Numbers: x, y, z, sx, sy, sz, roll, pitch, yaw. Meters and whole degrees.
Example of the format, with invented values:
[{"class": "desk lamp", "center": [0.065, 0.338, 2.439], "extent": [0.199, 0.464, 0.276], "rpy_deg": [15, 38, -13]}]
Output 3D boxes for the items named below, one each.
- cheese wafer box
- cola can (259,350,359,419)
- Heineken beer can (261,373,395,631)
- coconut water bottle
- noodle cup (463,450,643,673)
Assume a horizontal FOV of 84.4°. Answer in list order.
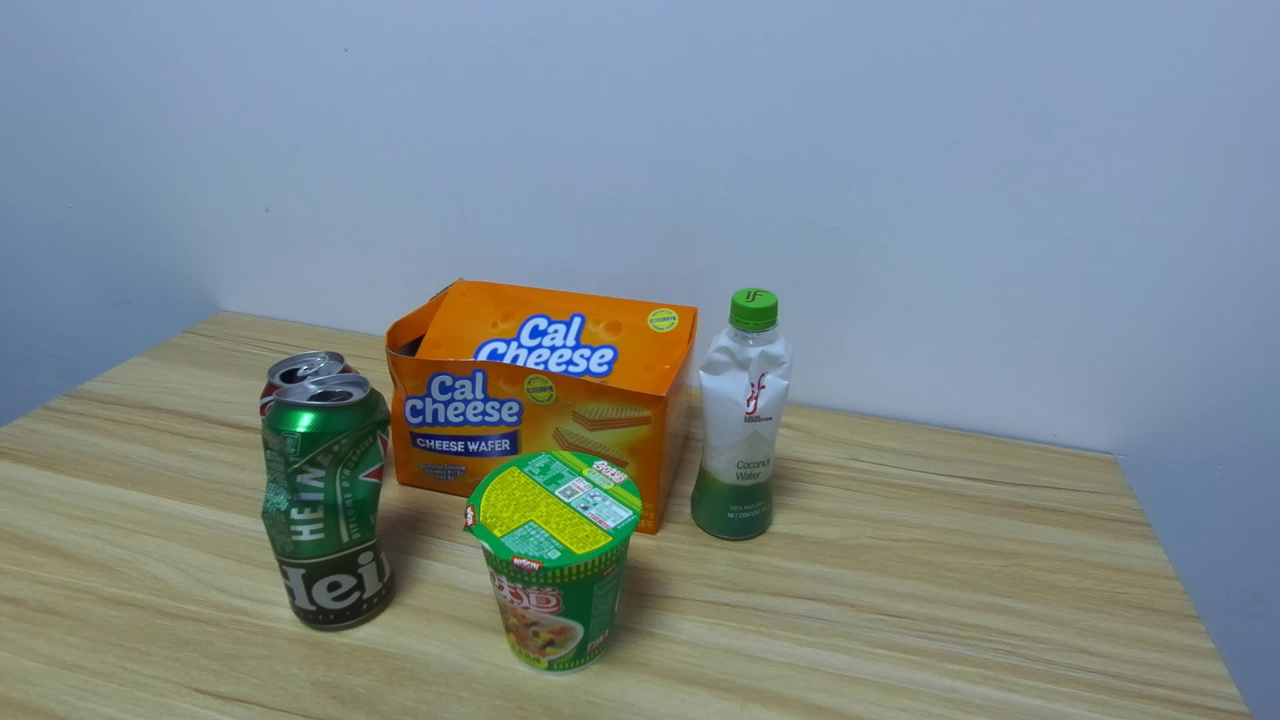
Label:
[{"class": "cheese wafer box", "center": [-0.077, 0.030, 0.580], "extent": [0.230, 0.132, 0.152], "rpy_deg": [9, 32, 12]}, {"class": "cola can", "center": [-0.243, 0.052, 0.539], "extent": [0.066, 0.117, 0.066], "rpy_deg": [4, 30, 1]}, {"class": "Heineken beer can", "center": [-0.190, 0.090, 0.438], "extent": [0.067, 0.159, 0.078], "rpy_deg": [-2, 21, -12]}, {"class": "coconut water bottle", "center": [0.072, 0.040, 0.505], "extent": [0.069, 0.186, 0.069], "rpy_deg": [0, 30, 0]}, {"class": "noodle cup", "center": [-0.051, 0.127, 0.429], "extent": [0.097, 0.110, 0.097], "rpy_deg": [2, 32, -1]}]
